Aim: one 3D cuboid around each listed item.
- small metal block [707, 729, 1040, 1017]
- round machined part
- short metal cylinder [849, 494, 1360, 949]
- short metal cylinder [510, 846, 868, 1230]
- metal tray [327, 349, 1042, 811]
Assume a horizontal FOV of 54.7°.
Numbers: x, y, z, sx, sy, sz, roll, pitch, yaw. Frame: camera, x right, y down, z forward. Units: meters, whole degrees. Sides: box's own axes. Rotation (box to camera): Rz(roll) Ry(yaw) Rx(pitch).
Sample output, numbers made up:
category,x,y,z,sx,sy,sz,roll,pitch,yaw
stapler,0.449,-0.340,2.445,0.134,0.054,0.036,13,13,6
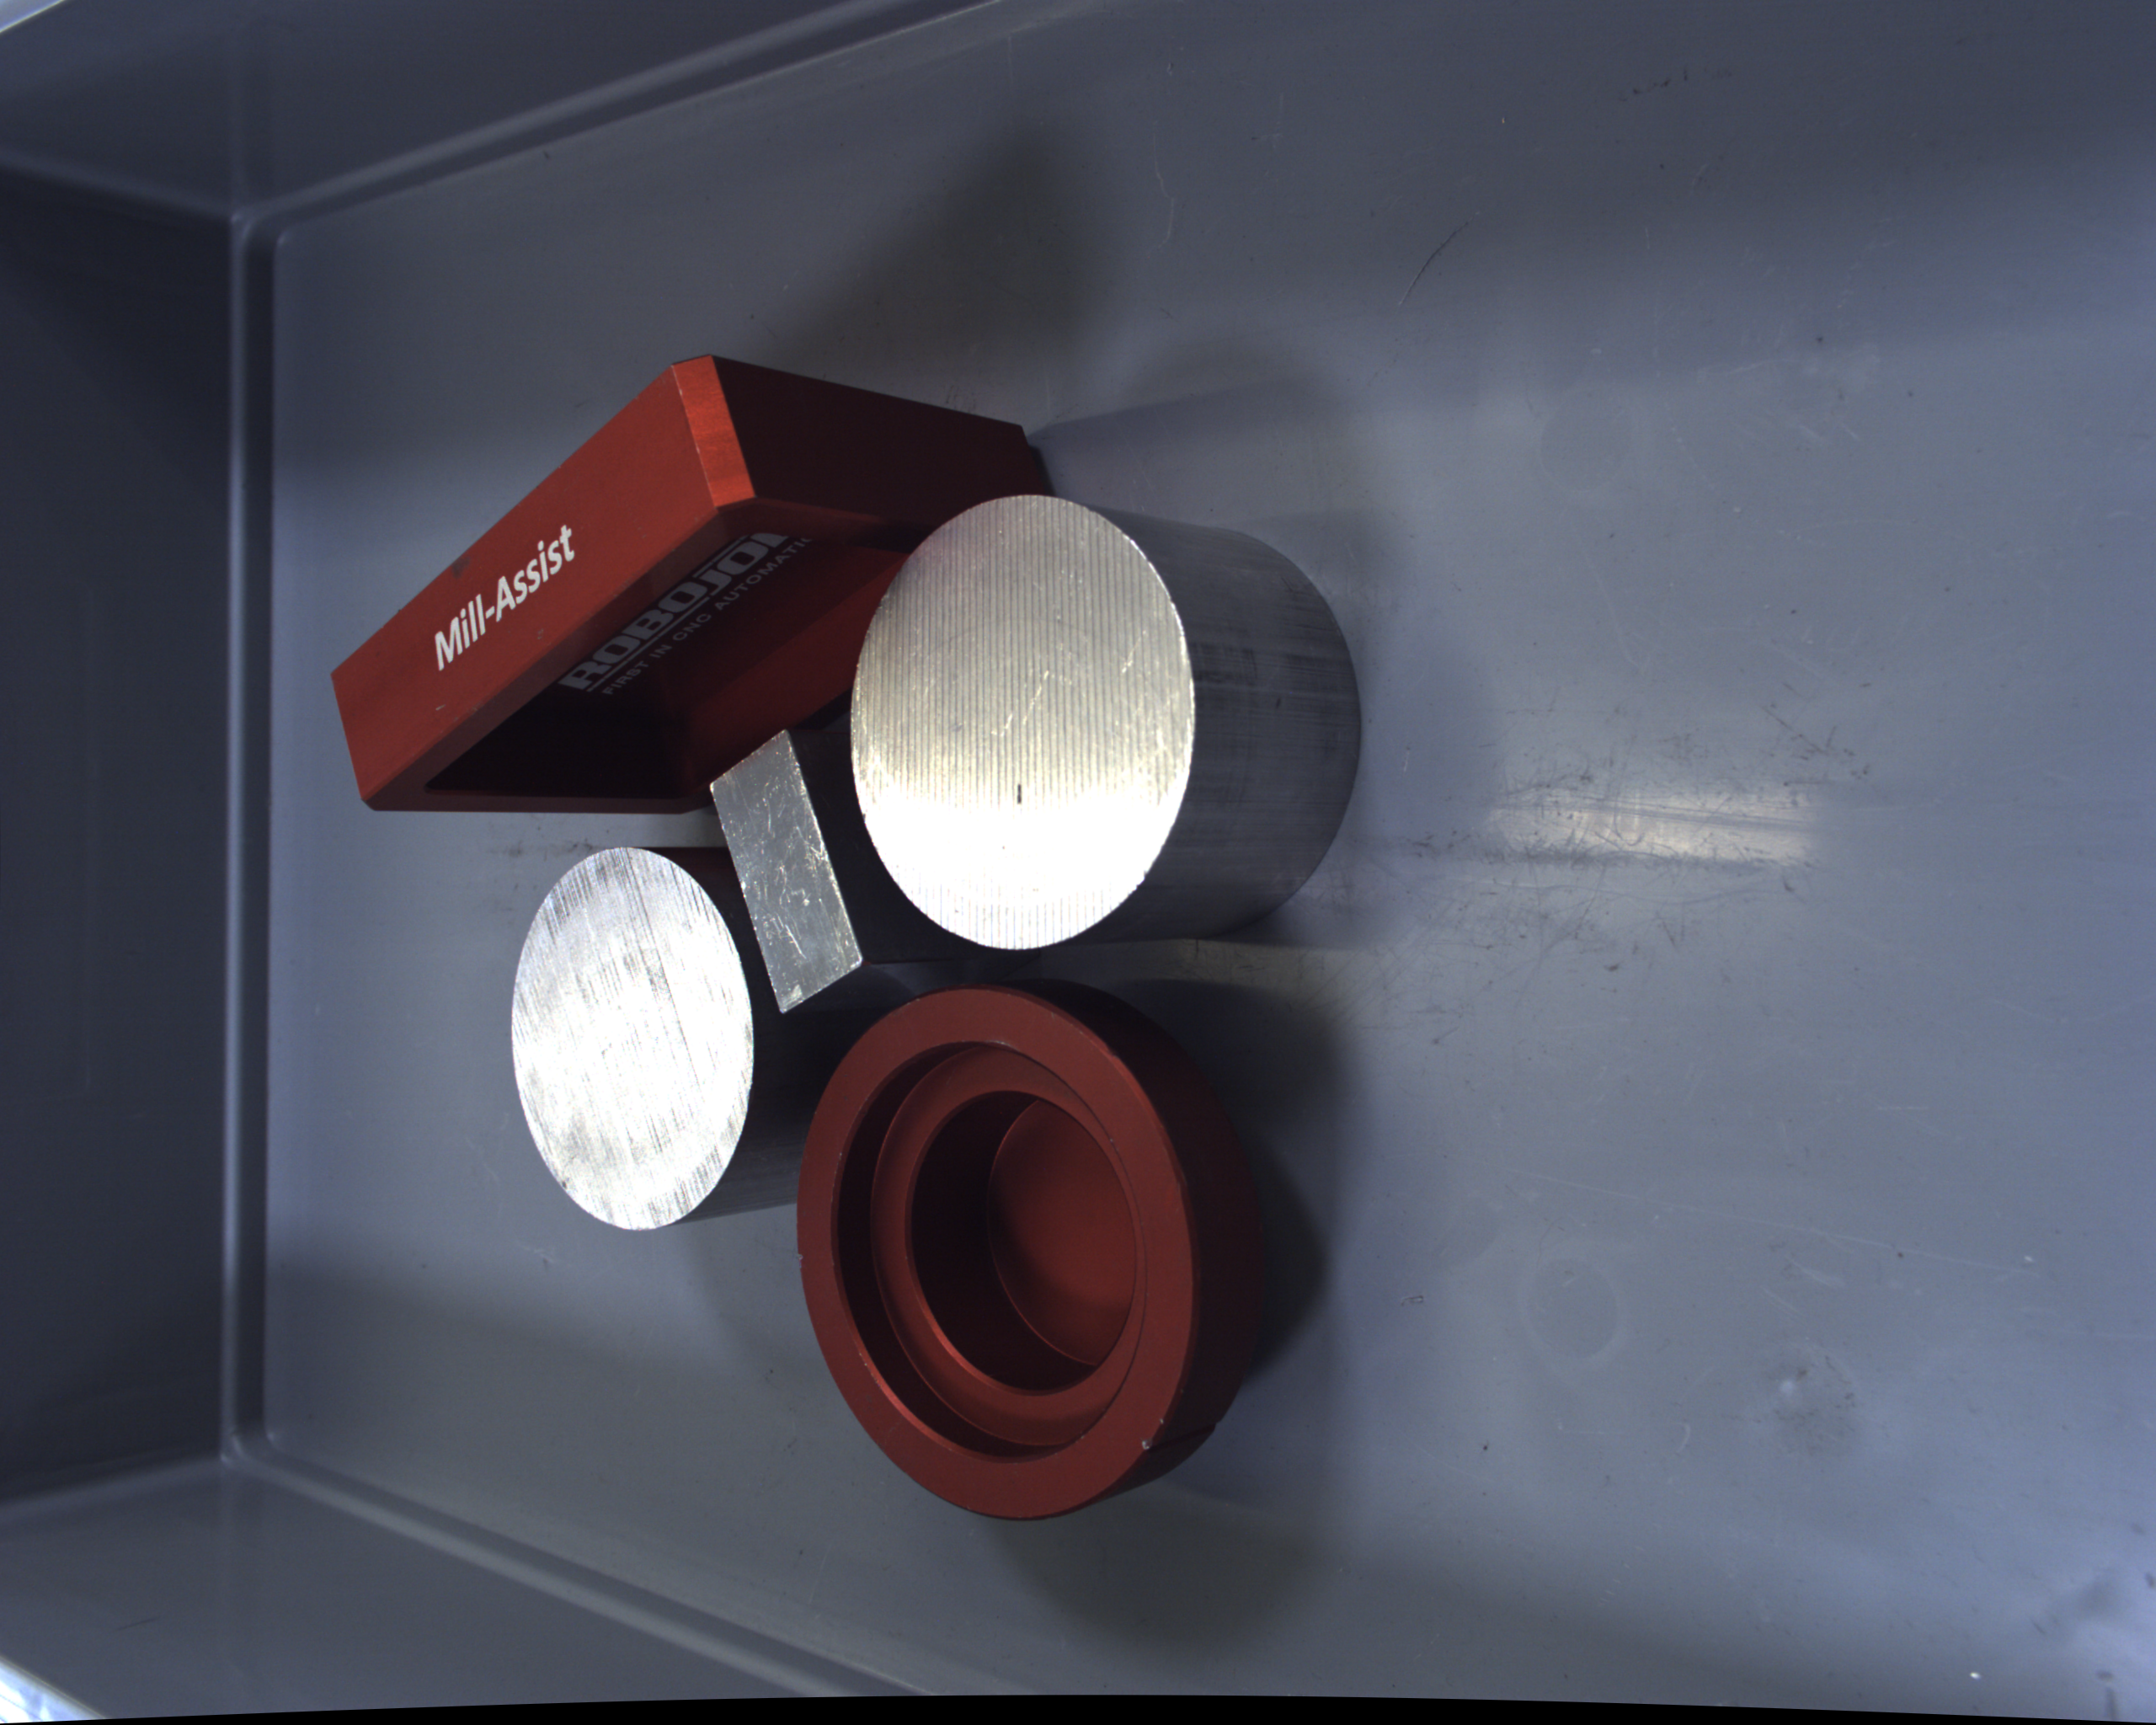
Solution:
category,x,y,z,sx,sy,sz,roll,pitch,yaw
small metal block,-0.041,0.002,0.421,0.025,0.050,0.050,-32,71,36
round machined part,-0.005,0.071,0.397,0.098,0.042,0.097,0,90,40
short metal cylinder,0.004,-0.025,0.385,0.080,0.050,0.079,0,90,40
short metal cylinder,-0.078,0.036,0.452,0.080,0.050,0.079,0,90,40
metal tray,-0.080,-0.051,0.427,0.130,0.091,0.030,-30,72,36
